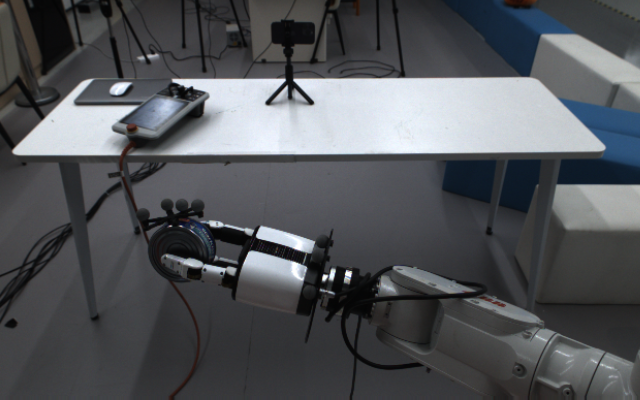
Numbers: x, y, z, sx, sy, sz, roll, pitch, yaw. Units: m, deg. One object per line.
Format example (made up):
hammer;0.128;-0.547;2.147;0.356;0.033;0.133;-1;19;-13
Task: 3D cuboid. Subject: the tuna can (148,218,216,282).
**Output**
tuna can;-0.186;0.068;0.659;0.085;0.085;0.034;6;18;5
